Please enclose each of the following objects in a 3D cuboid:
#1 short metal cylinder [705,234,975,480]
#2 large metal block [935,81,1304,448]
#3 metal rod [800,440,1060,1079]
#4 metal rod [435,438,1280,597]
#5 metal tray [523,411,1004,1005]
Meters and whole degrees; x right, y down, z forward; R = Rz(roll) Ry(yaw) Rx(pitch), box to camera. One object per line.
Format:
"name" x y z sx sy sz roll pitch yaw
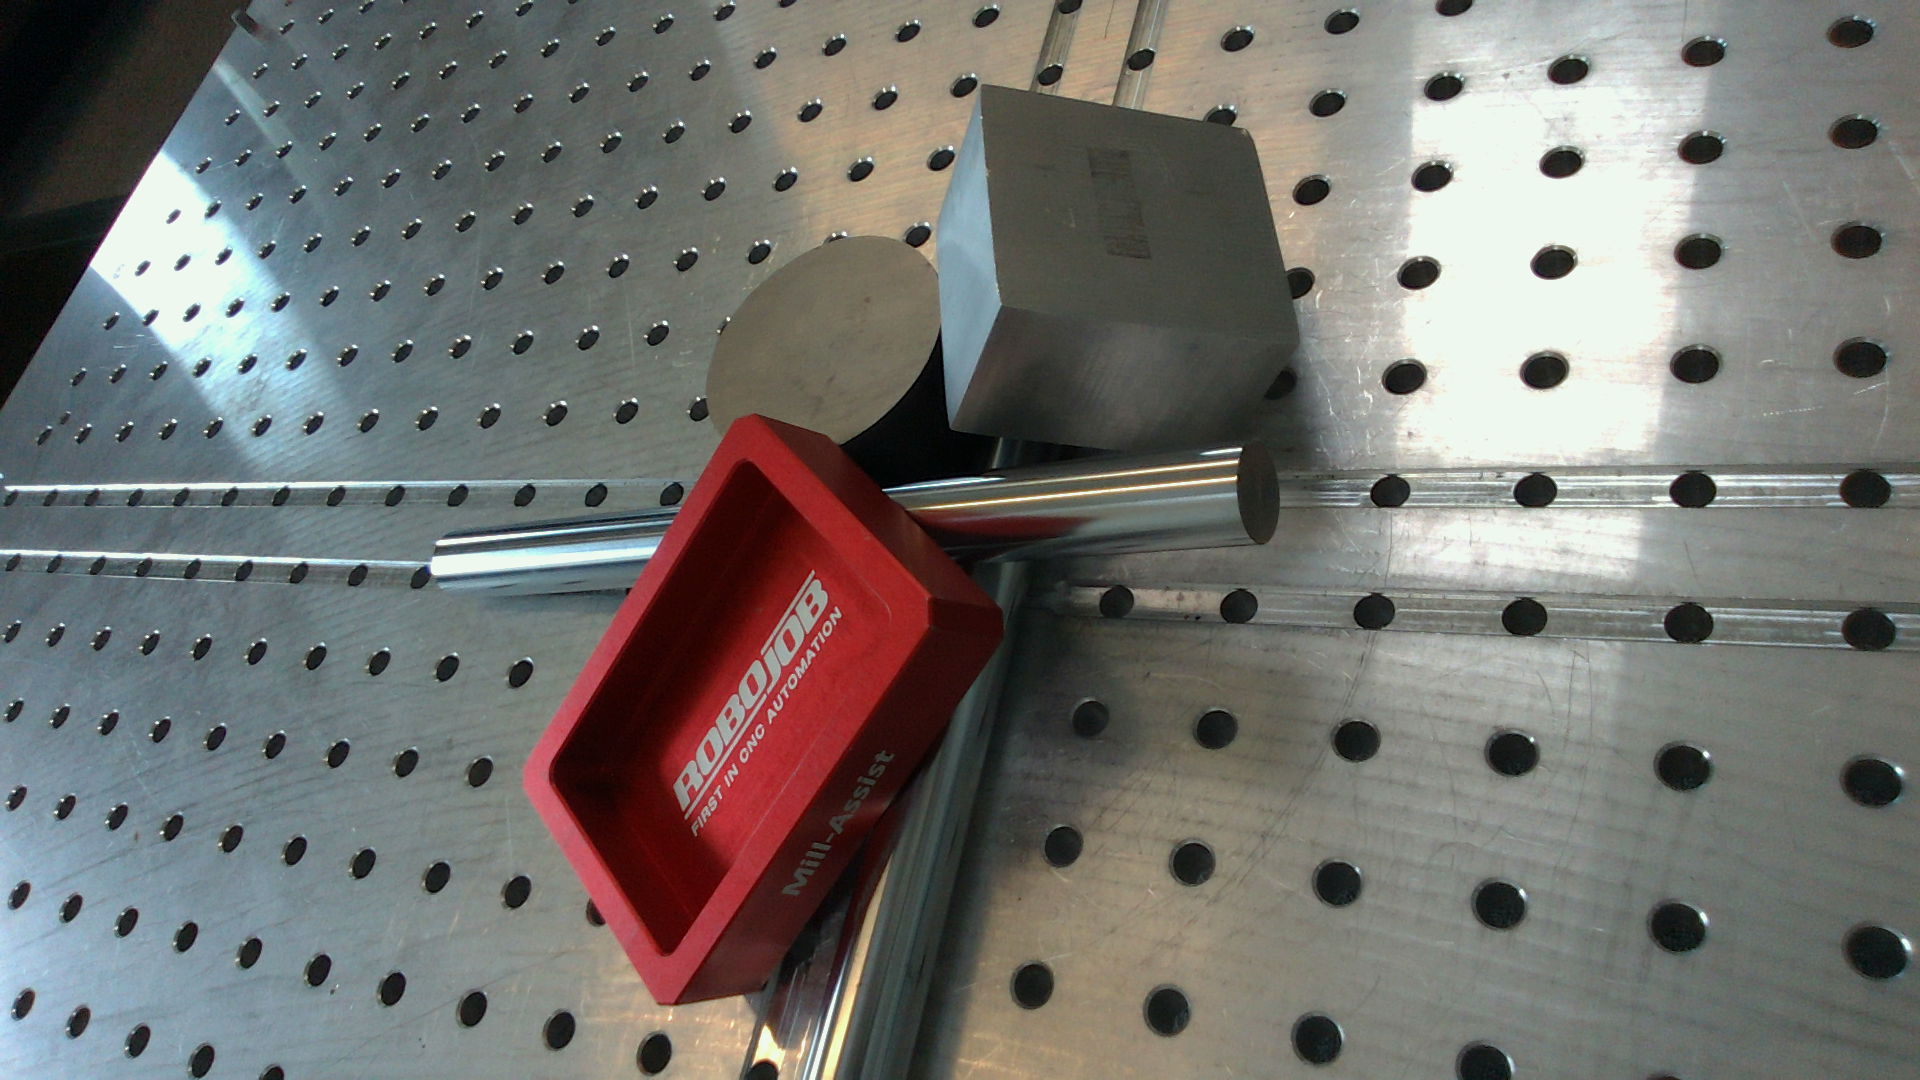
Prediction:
"short metal cylinder" -0.031 -0.047 0.426 0.080 0.050 0.080 -13 56 21
"large metal block" 0.040 -0.073 0.378 0.080 0.050 0.080 6 56 -14
"metal rod" 0.008 0.004 0.390 0.025 0.025 0.300 1 62 29
"metal rod" -0.053 -0.001 0.405 0.299 0.025 0.025 -5 59 34
"metal tray" -0.057 0.044 0.364 0.090 0.030 0.130 44 108 33
